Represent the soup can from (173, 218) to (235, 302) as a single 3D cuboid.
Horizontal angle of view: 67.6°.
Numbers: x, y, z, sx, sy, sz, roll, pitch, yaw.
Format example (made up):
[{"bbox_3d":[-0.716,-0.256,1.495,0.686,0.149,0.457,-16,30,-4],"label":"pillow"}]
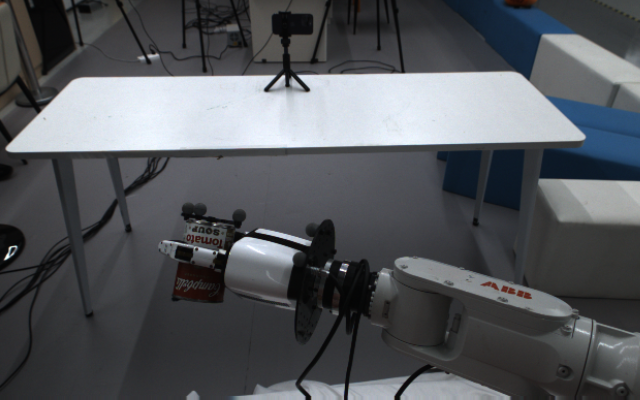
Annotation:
[{"bbox_3d":[-0.153,0.082,0.641,0.067,0.101,0.067,9,-6,1],"label":"soup can"}]
